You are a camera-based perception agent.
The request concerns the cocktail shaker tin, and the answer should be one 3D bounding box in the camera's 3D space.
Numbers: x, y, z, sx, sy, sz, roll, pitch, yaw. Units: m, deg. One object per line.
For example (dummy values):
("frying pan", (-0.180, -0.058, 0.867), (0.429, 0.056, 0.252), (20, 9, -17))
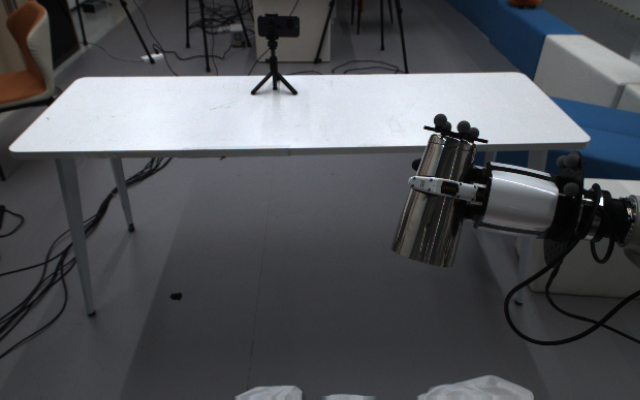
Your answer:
("cocktail shaker tin", (0.167, -0.002, 0.682), (0.093, 0.170, 0.093), (14, 6, -2))
